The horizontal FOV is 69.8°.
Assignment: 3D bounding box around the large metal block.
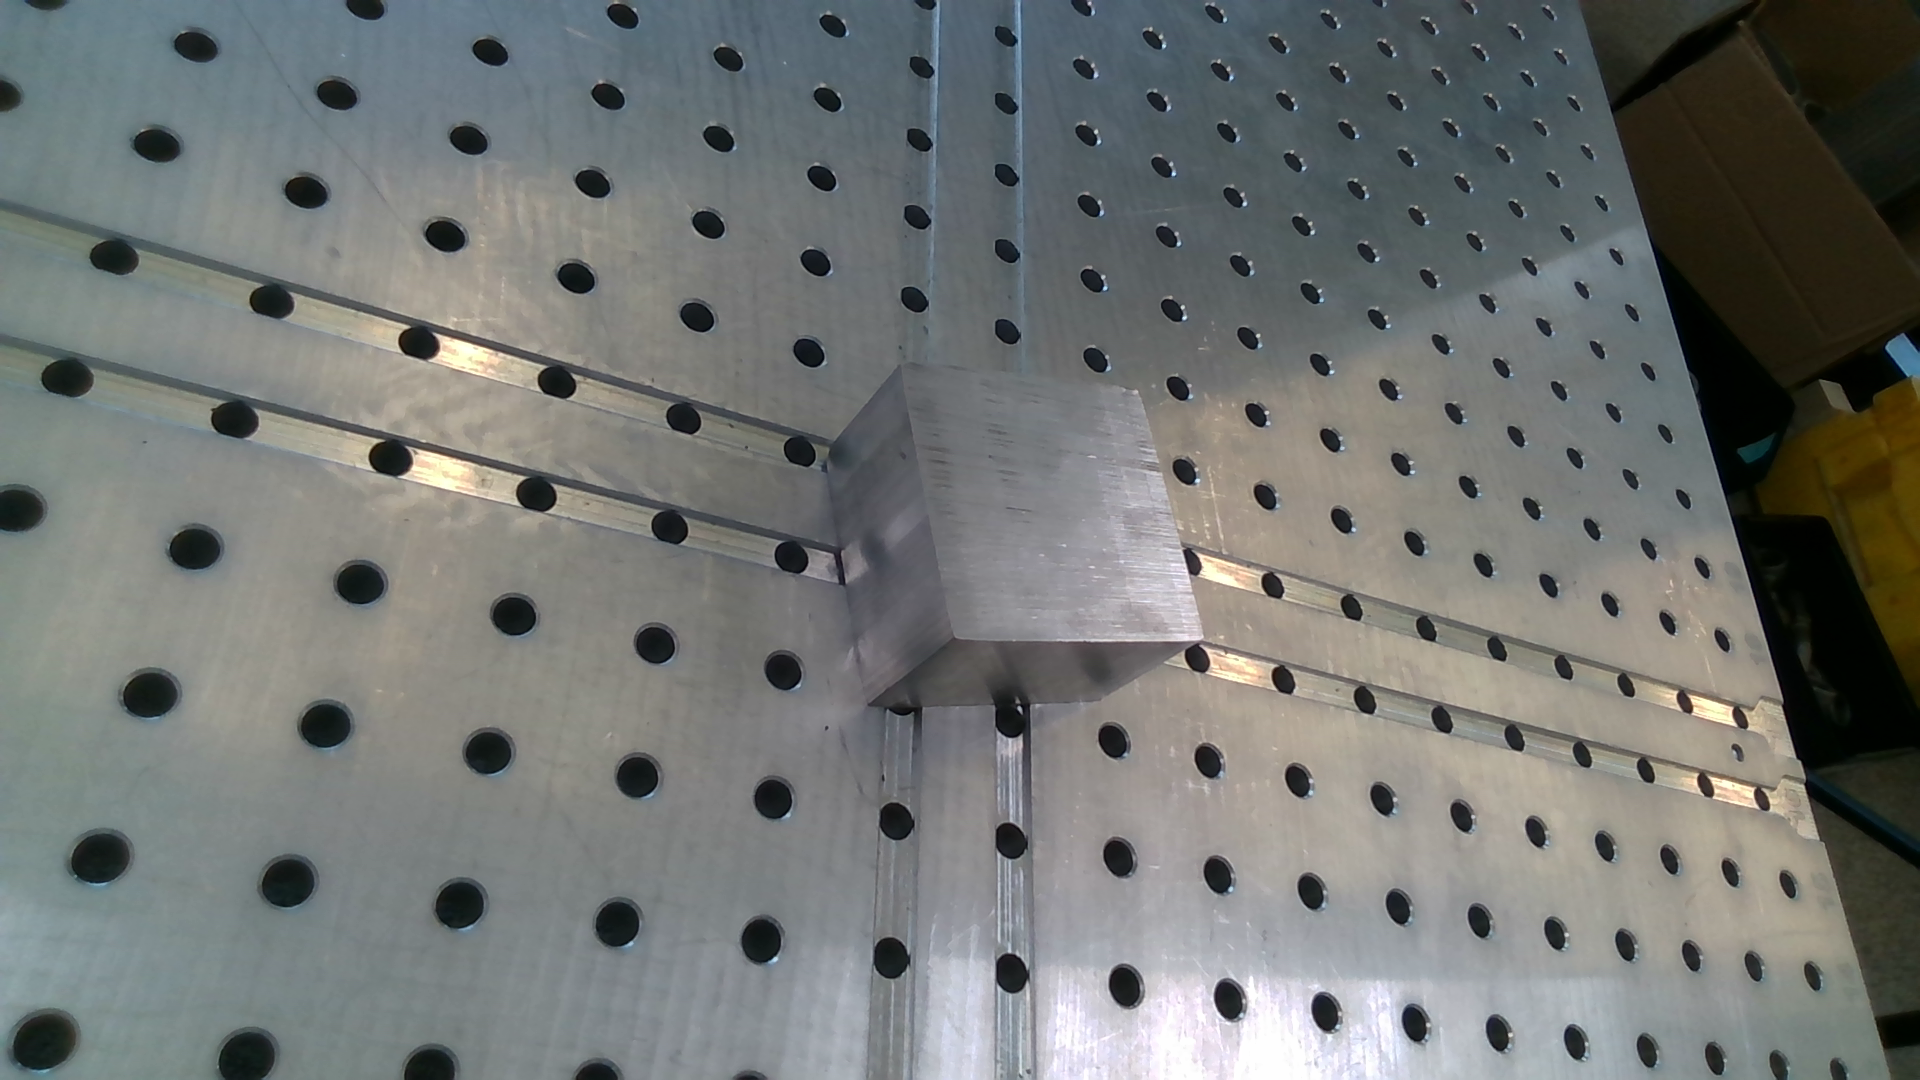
[{"bbox_3d":[0.014,0.000,0.388,0.080,0.050,0.080,2,64,-31],"label":"large metal block"}]
